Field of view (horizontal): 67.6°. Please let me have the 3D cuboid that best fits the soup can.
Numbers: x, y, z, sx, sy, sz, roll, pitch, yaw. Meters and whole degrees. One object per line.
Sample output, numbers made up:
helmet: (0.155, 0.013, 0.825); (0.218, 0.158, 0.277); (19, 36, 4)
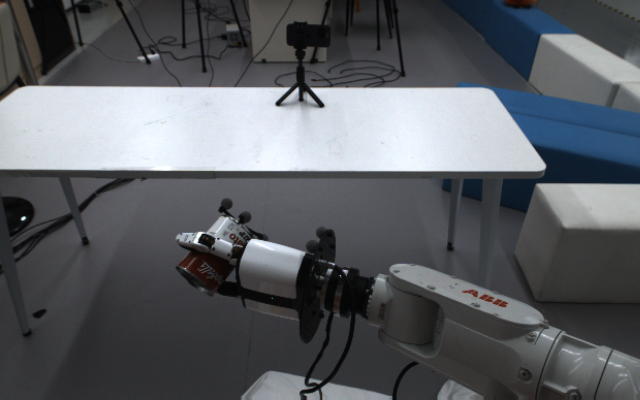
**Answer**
soup can: (-0.151, 0.080, 0.705); (0.067, 0.067, 0.101); (23, 61, 27)
